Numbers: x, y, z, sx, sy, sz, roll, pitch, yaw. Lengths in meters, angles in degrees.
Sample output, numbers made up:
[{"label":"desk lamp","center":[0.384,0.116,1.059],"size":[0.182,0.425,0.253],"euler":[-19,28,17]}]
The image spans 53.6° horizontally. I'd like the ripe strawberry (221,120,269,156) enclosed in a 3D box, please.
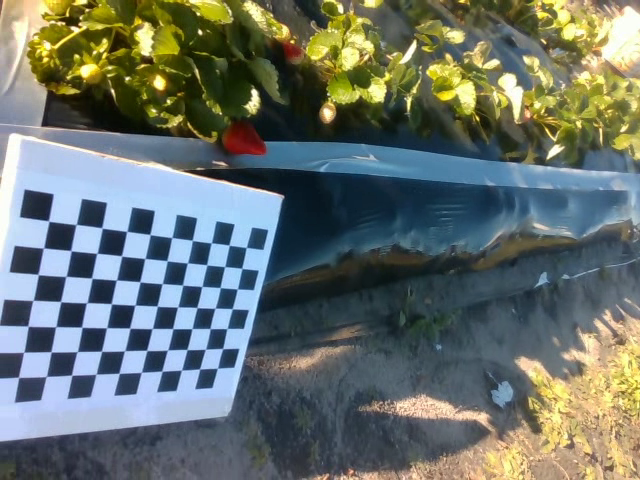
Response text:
[{"label":"ripe strawberry","center":[-0.086,-0.113,0.700],"size":[0.063,0.045,0.049],"euler":[30,-11,18]}]
